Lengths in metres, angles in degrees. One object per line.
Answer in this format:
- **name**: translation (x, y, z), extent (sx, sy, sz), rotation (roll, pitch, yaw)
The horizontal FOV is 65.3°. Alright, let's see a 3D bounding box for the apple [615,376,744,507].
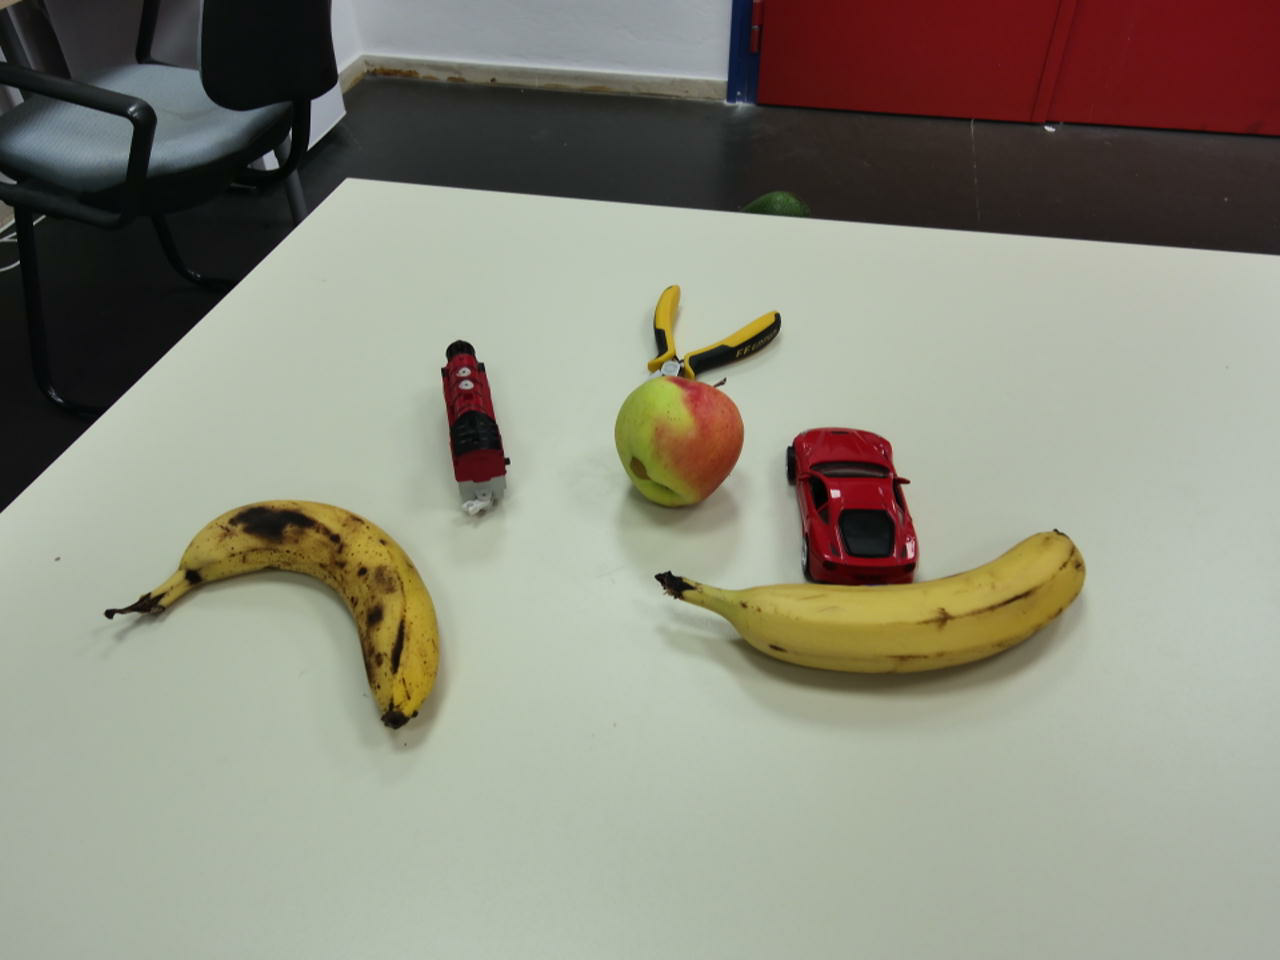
- **apple**: translation (0.023, -0.023, 0.578), extent (0.075, 0.074, 0.075), rotation (-4, 39, -5)
